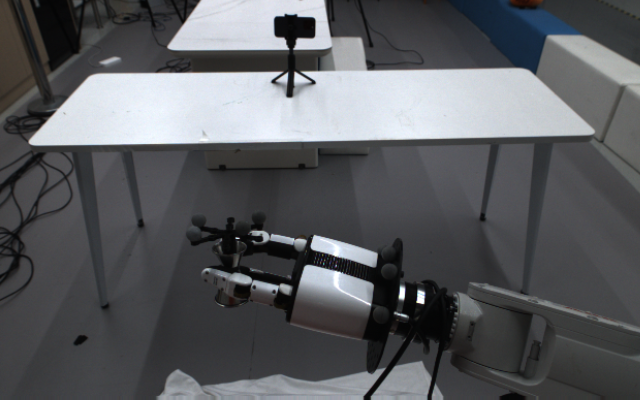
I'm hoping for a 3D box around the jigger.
[{"bbox_3d":[-0.105,0.086,0.572,0.043,0.071,0.043,0,21,0],"label":"jigger"}]
